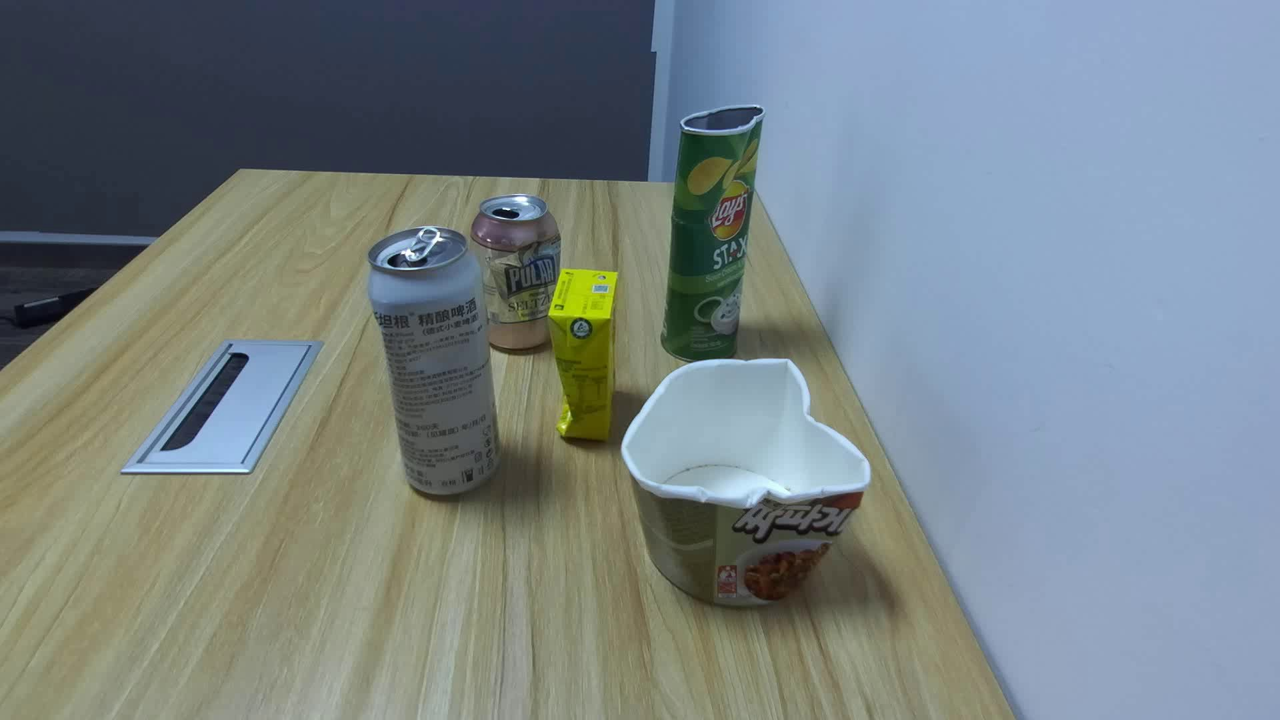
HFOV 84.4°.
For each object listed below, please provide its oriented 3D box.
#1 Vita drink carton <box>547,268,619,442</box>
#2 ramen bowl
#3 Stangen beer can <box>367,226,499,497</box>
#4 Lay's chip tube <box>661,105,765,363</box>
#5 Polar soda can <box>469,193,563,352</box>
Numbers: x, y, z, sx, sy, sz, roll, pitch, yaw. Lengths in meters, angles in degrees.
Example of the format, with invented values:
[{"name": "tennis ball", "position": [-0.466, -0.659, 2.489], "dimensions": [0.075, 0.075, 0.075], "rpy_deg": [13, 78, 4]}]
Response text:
[{"name": "Vita drink carton", "position": [-0.039, 0.000, 0.505], "dimensions": [0.043, 0.109, 0.076], "rpy_deg": [3, 35, 2]}, {"name": "ramen bowl", "position": [0.051, 0.073, 0.418], "dimensions": [0.134, 0.097, 0.113], "rpy_deg": [-7, 38, -18]}, {"name": "Stangen beer can", "position": [-0.127, 0.004, 0.439], "dimensions": [0.070, 0.173, 0.069], "rpy_deg": [-24, 42, -34]}, {"name": "Lay's chip tube", "position": [0.057, -0.097, 0.573], "dimensions": [0.069, 0.199, 0.074], "rpy_deg": [3, 35, -1]}, {"name": "Polar soda can", "position": [-0.105, -0.072, 0.596], "dimensions": [0.074, 0.122, 0.067], "rpy_deg": [6, 32, 2]}]
